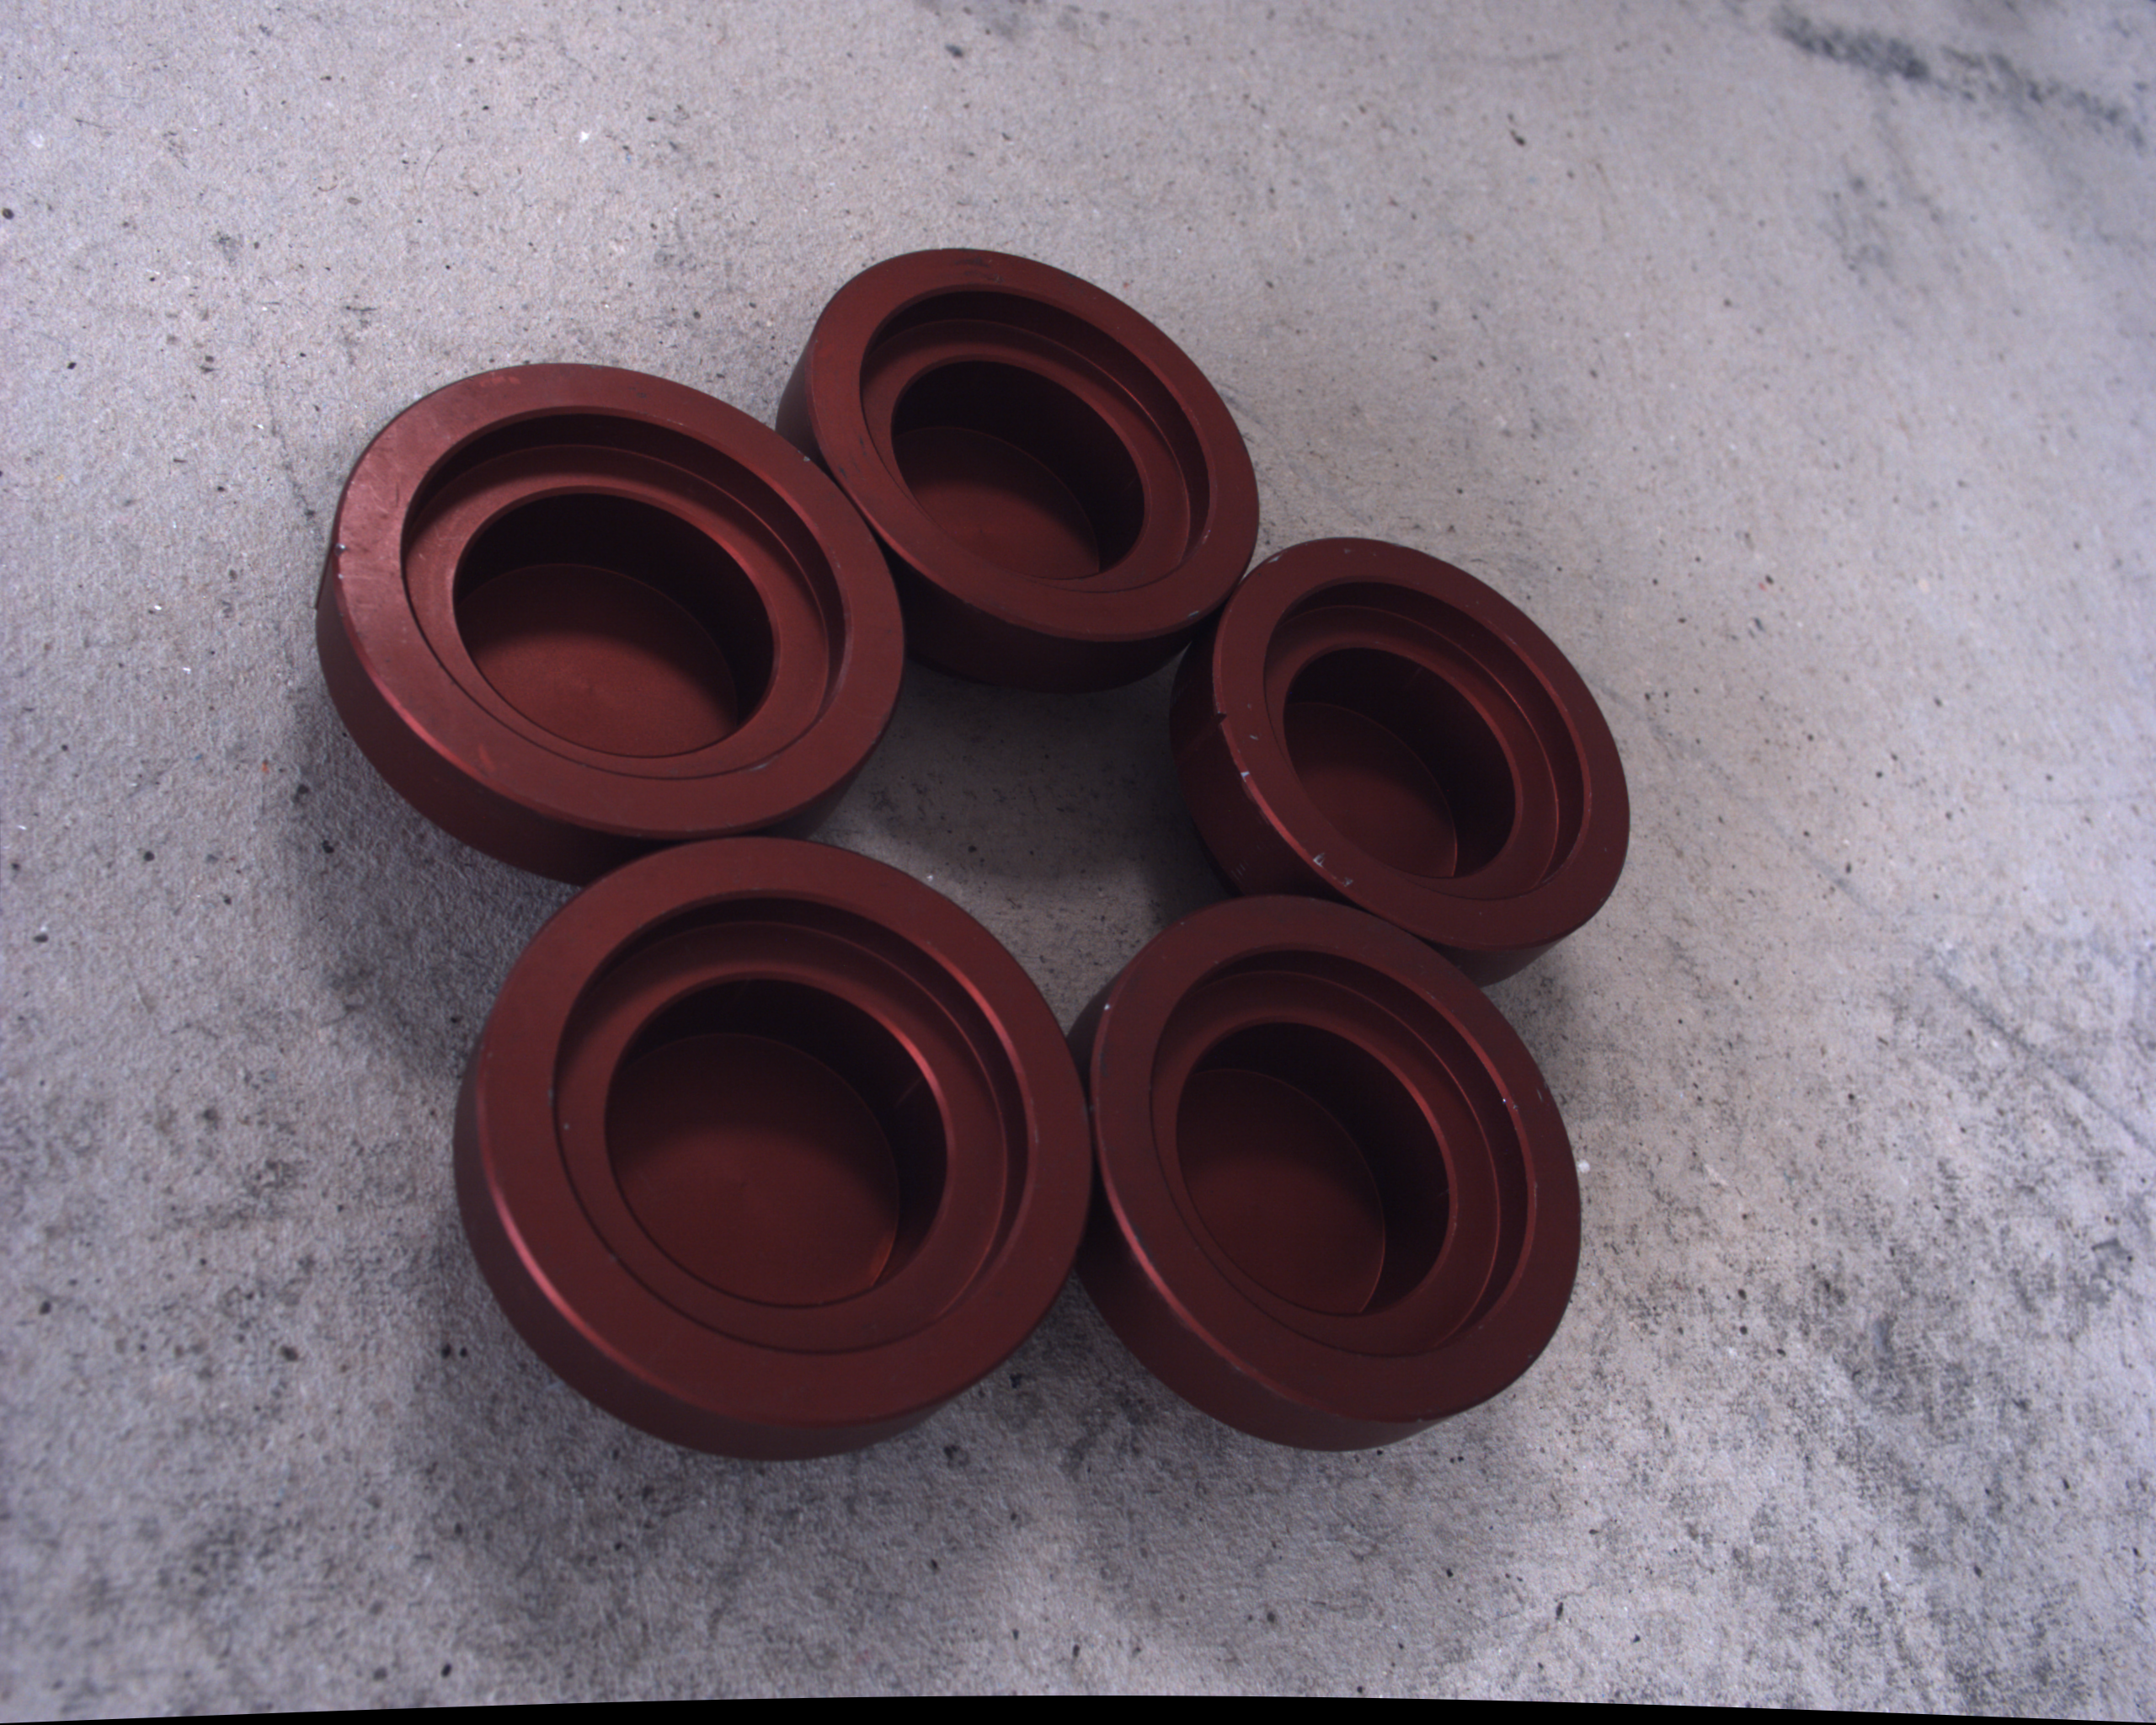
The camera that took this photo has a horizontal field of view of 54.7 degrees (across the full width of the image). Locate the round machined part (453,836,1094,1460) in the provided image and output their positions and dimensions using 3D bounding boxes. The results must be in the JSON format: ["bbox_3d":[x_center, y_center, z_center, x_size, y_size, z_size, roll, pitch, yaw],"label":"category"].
[{"bbox_3d":[-0.051,0.048,0.337,0.099,0.042,0.098,15,54,-21],"label":"round machined part"}]

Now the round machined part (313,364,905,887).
[{"bbox_3d":[-0.084,-0.038,0.372,0.099,0.042,0.098,14,54,-20],"label":"round machined part"}]

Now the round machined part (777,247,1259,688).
[{"bbox_3d":[-0.016,-0.076,0.431,0.099,0.042,0.098,15,54,-21],"label":"round machined part"}]

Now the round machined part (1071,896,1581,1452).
[{"bbox_3d":[0.038,0.058,0.379,0.099,0.042,0.098,14,55,-21],"label":"round machined part"}]

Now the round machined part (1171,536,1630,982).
[{"bbox_3d":[0.063,-0.017,0.437,0.099,0.042,0.098,15,54,-21],"label":"round machined part"}]
